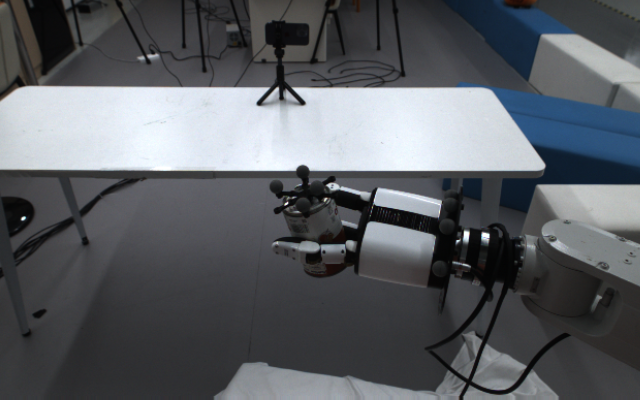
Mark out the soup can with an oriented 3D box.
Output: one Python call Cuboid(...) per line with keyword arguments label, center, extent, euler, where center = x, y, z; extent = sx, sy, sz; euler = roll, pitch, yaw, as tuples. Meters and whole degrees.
Cuboid(label="soup can", center=(-0.001, 0.040, 0.618), extent=(0.067, 0.101, 0.067), euler=(-13, 31, 8))
